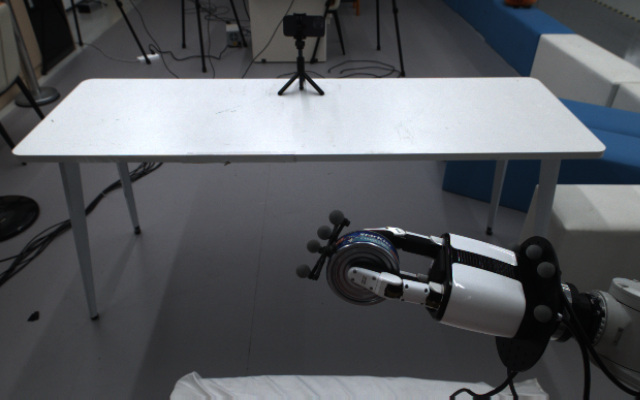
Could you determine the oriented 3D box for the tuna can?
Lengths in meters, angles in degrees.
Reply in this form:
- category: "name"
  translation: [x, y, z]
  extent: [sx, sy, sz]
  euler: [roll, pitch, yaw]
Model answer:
- category: "tuna can"
  translation: [0.054, 0.077, 0.569]
  extent: [0.085, 0.085, 0.034]
  euler: [3, 20, 1]
